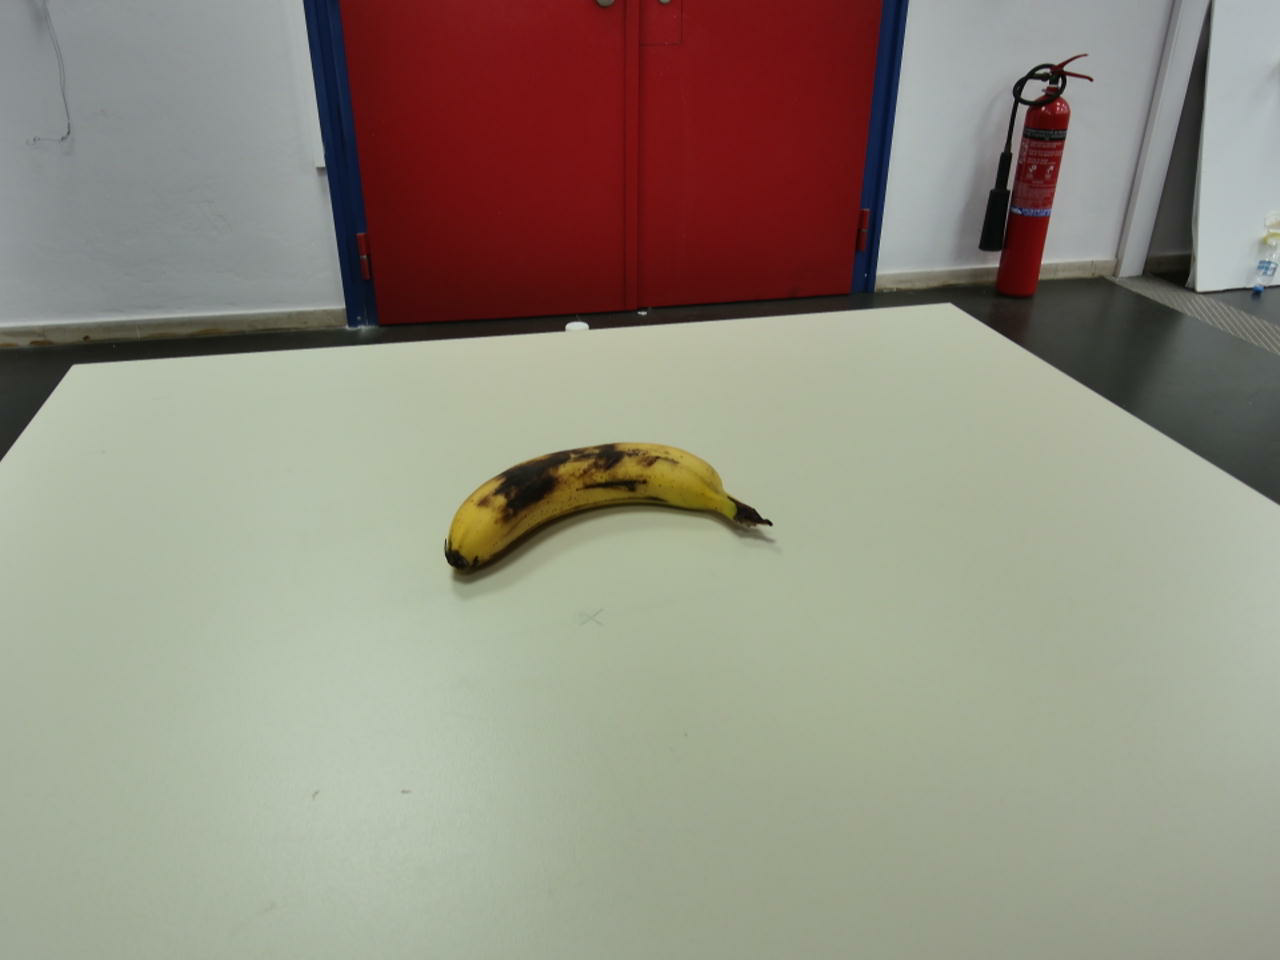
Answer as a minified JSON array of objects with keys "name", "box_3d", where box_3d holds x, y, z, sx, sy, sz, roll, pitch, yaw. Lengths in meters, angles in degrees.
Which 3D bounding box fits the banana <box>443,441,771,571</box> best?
[{"name":"banana","box_3d":[-0.026,0.011,0.600,0.187,0.039,0.094,-6,27,-13]}]
